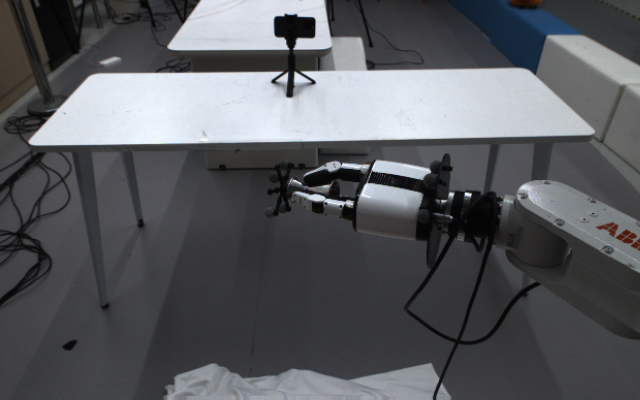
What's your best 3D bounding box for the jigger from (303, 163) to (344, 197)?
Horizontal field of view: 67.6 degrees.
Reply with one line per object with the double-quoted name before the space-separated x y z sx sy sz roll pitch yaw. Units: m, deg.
"jigger" -0.005 -0.014 0.721 0.071 0.043 0.043 7 34 23
